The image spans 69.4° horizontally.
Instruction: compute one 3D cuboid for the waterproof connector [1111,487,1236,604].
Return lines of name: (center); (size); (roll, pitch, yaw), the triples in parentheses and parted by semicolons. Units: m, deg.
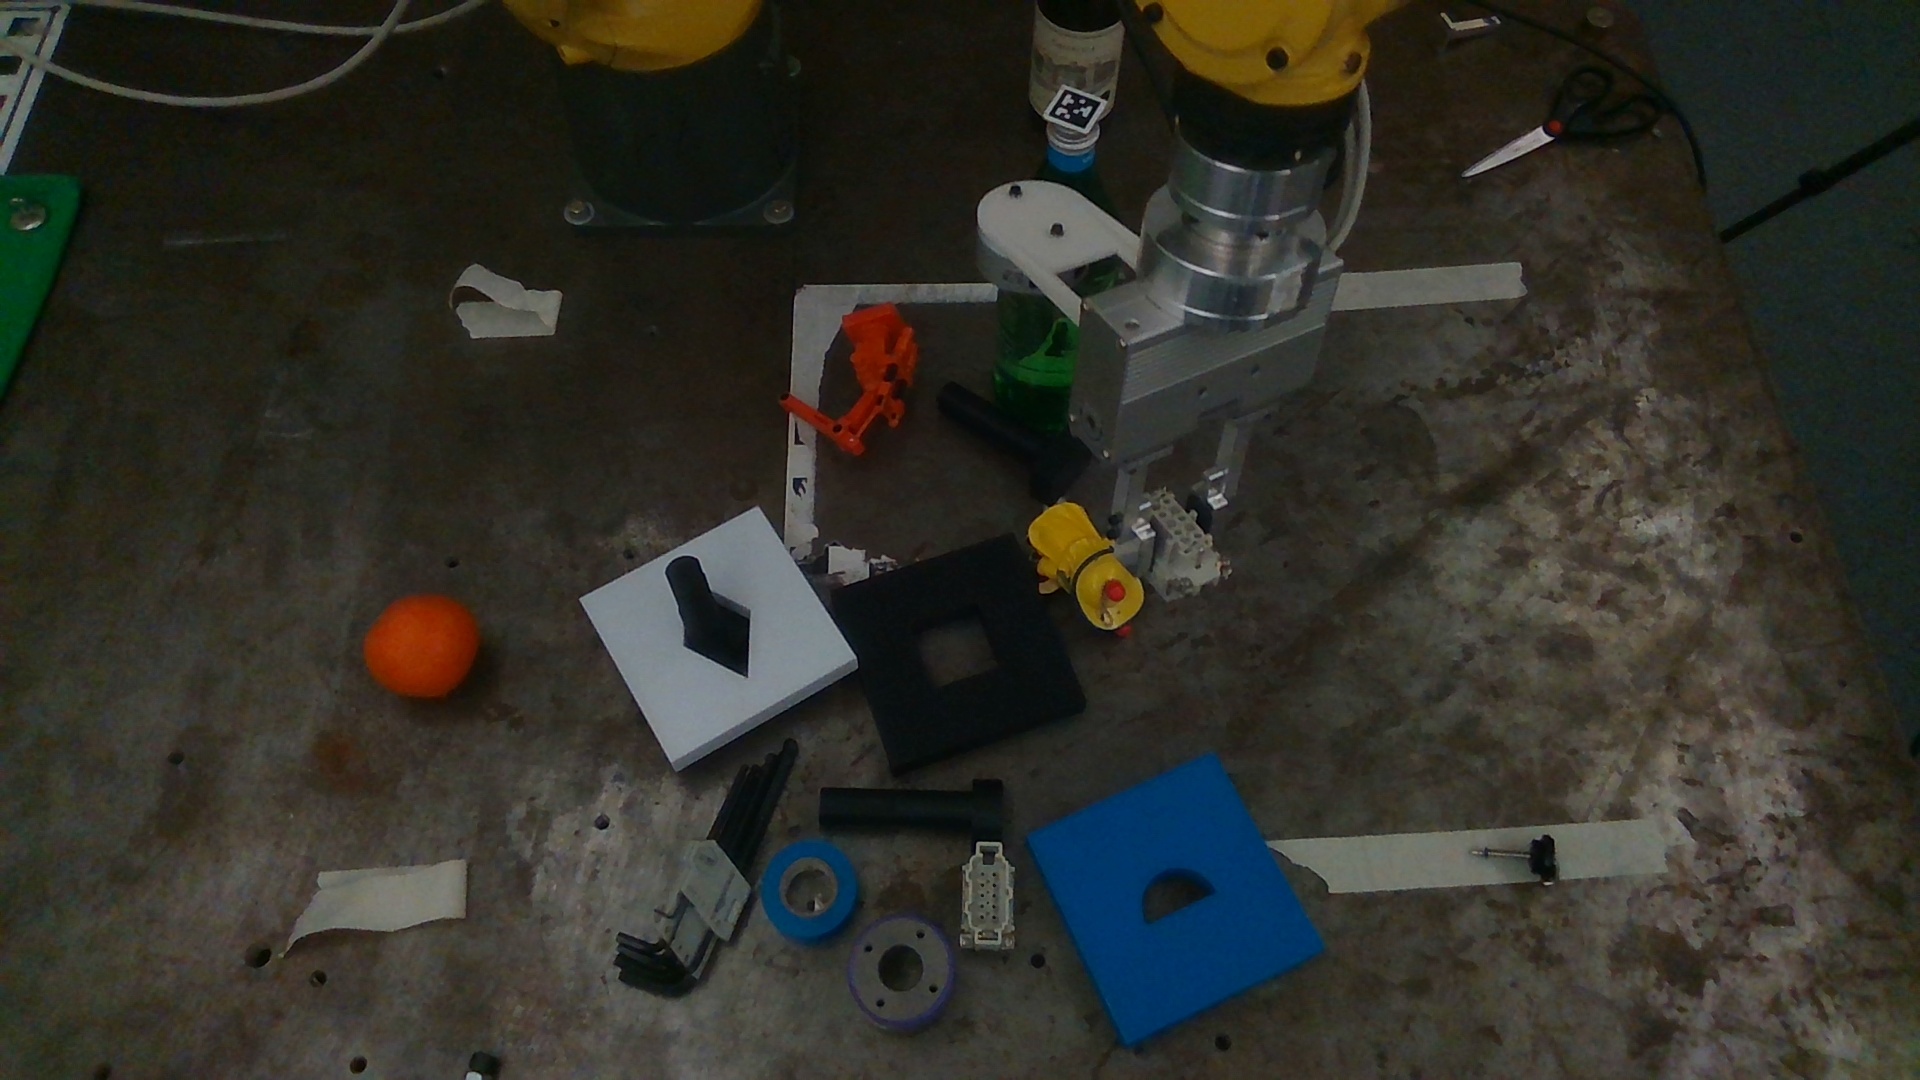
waterproof connector: (0.112, 0.000, 0.730); (0.036, 0.038, 0.069); (-27, 51, -15)
